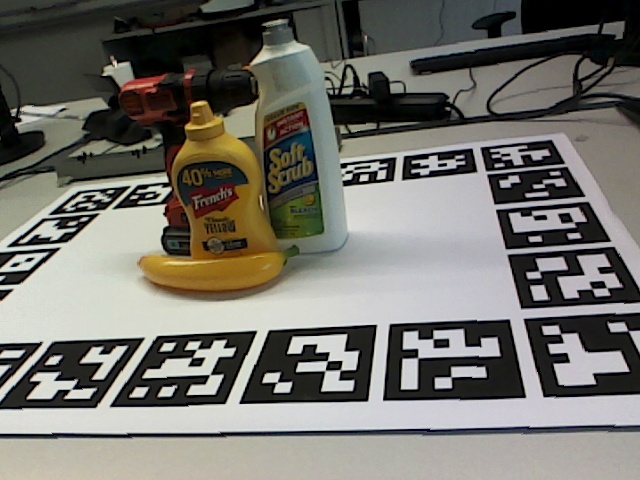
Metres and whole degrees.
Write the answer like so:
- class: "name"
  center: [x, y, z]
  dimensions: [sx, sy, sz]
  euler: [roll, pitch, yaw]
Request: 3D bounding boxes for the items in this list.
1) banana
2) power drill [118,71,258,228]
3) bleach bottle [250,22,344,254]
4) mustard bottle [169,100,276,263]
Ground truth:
- class: "banana"
  center: [-0.122, 0.034, 0.689]
  dimensions: [0.198, 0.039, 0.074]
  euler: [-3, 29, 20]
- class: "power drill"
  center: [-0.141, -0.106, 0.734]
  dimensions: [0.185, 0.186, 0.057]
  euler: [4, 29, 24]
- class: "bleach bottle"
  center: [-0.037, -0.109, 0.693]
  dimensions: [0.103, 0.250, 0.068]
  euler: [-3, 22, 17]
- class: "mustard bottle"
  center: [-0.112, -0.057, 0.671]
  dimensions: [0.096, 0.191, 0.058]
  euler: [-3, 27, 14]
